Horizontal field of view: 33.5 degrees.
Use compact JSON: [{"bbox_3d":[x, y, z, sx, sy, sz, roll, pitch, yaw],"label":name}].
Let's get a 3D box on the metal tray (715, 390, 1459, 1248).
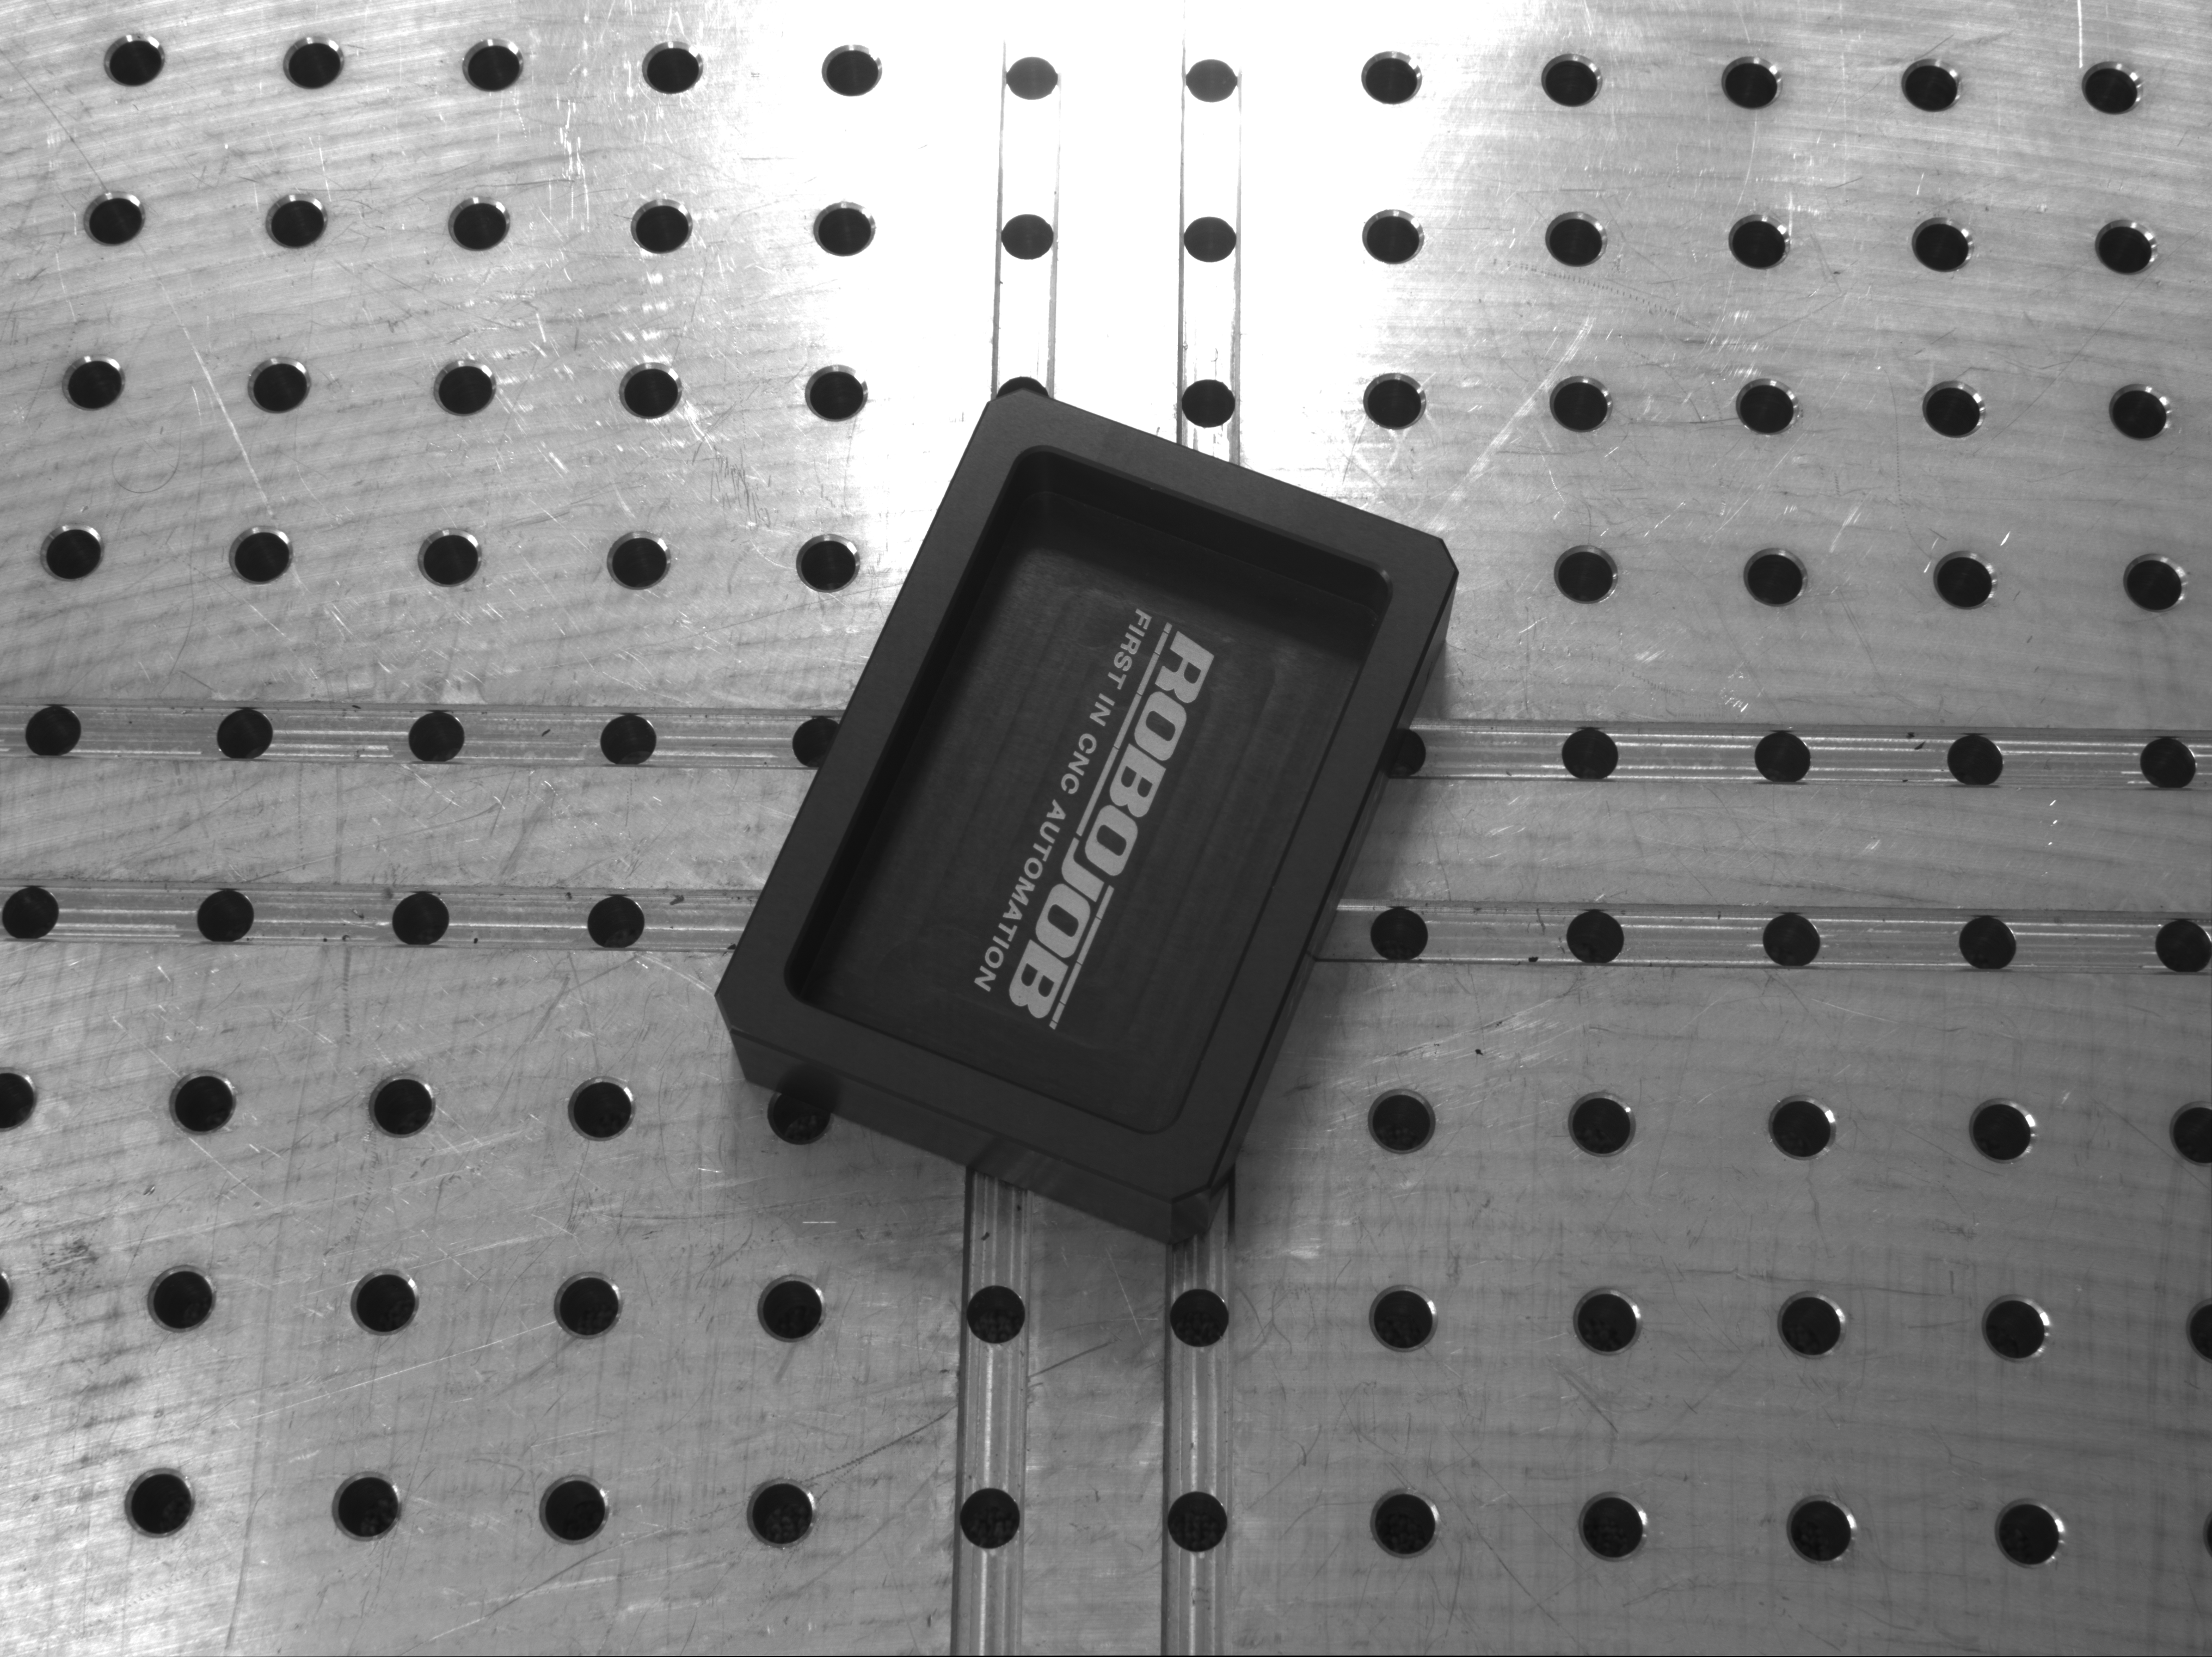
[{"bbox_3d":[-0.002,-0.003,0.646,0.090,0.030,0.130,21,71,7],"label":"metal tray"}]
